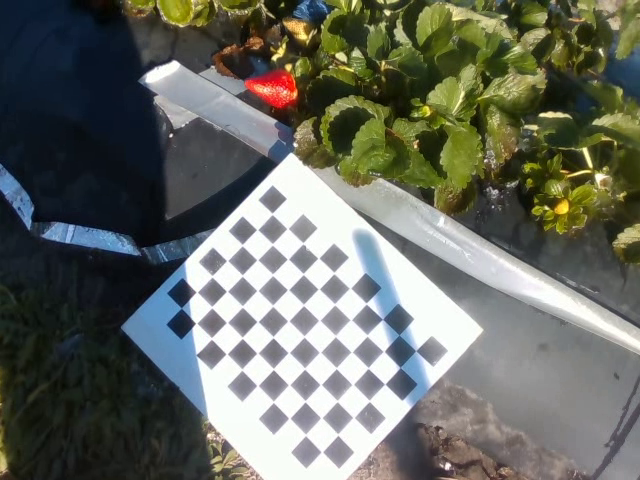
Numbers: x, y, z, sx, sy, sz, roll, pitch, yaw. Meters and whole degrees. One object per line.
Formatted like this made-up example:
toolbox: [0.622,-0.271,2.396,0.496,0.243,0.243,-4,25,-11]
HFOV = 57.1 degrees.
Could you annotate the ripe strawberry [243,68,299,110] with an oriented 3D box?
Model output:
ripe strawberry: [-0.064,-0.184,0.723,0.065,0.062,0.057,-8,-9,-43]
